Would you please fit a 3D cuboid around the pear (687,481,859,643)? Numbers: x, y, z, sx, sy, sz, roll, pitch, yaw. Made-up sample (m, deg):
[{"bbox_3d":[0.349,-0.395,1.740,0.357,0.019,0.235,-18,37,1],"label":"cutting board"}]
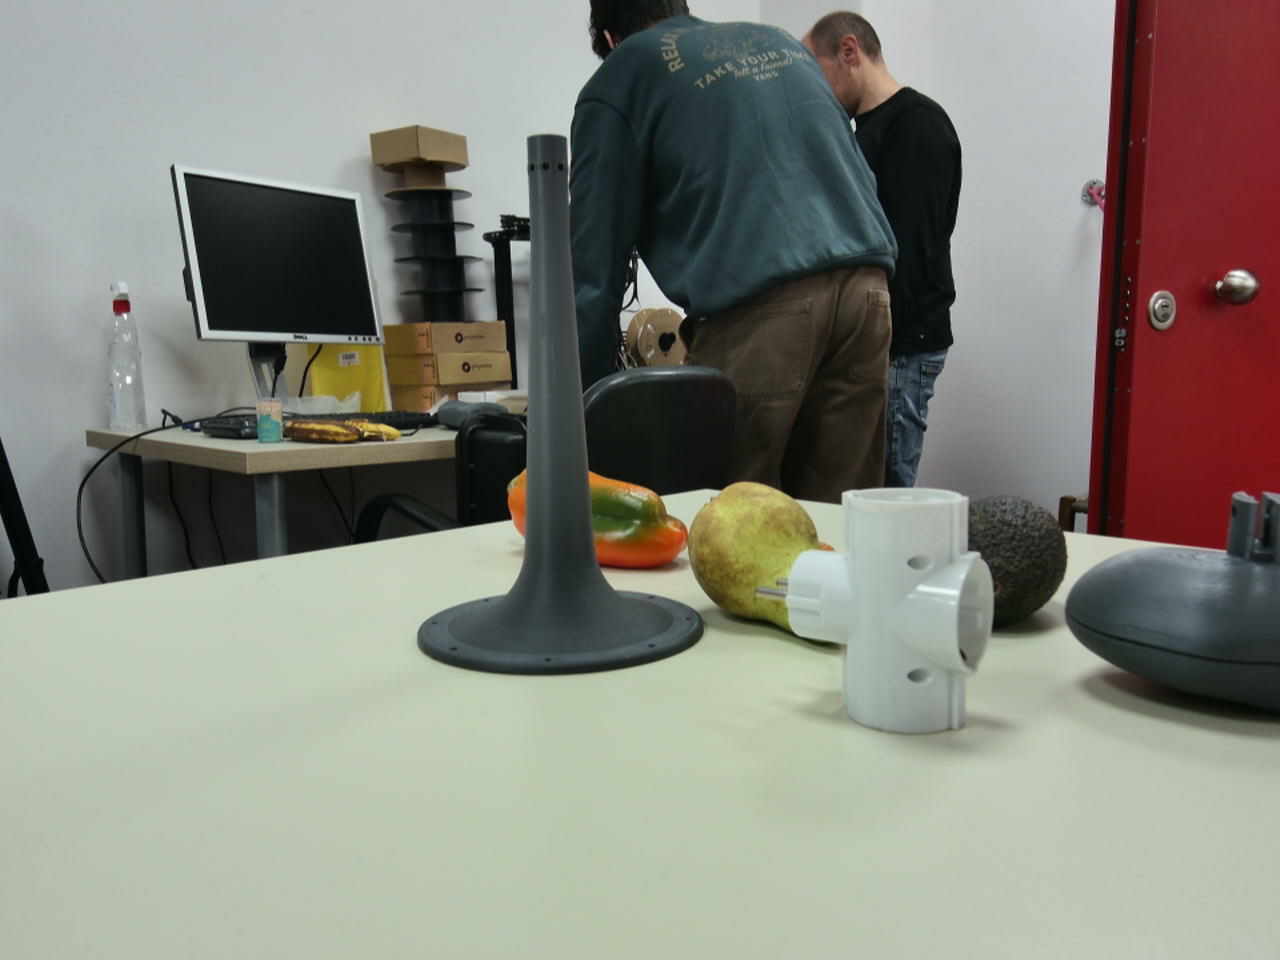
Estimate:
[{"bbox_3d":[0.083,0.042,0.533,0.071,0.075,0.144,-4,7,-35],"label":"pear"}]
